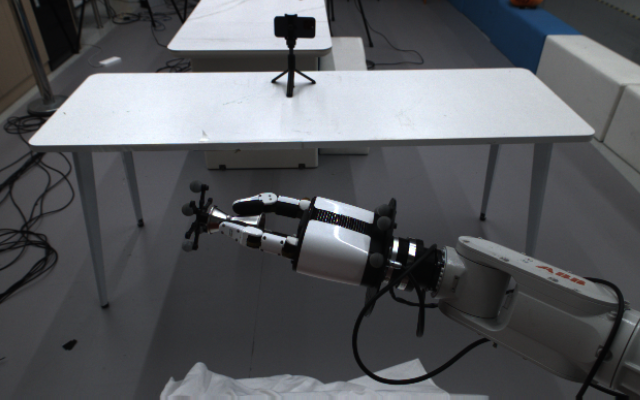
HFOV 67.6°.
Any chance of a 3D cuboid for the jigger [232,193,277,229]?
[{"bbox_3d":[-0.104,0.030,0.645,0.071,0.043,0.043,10,35,3],"label":"jigger"}]
